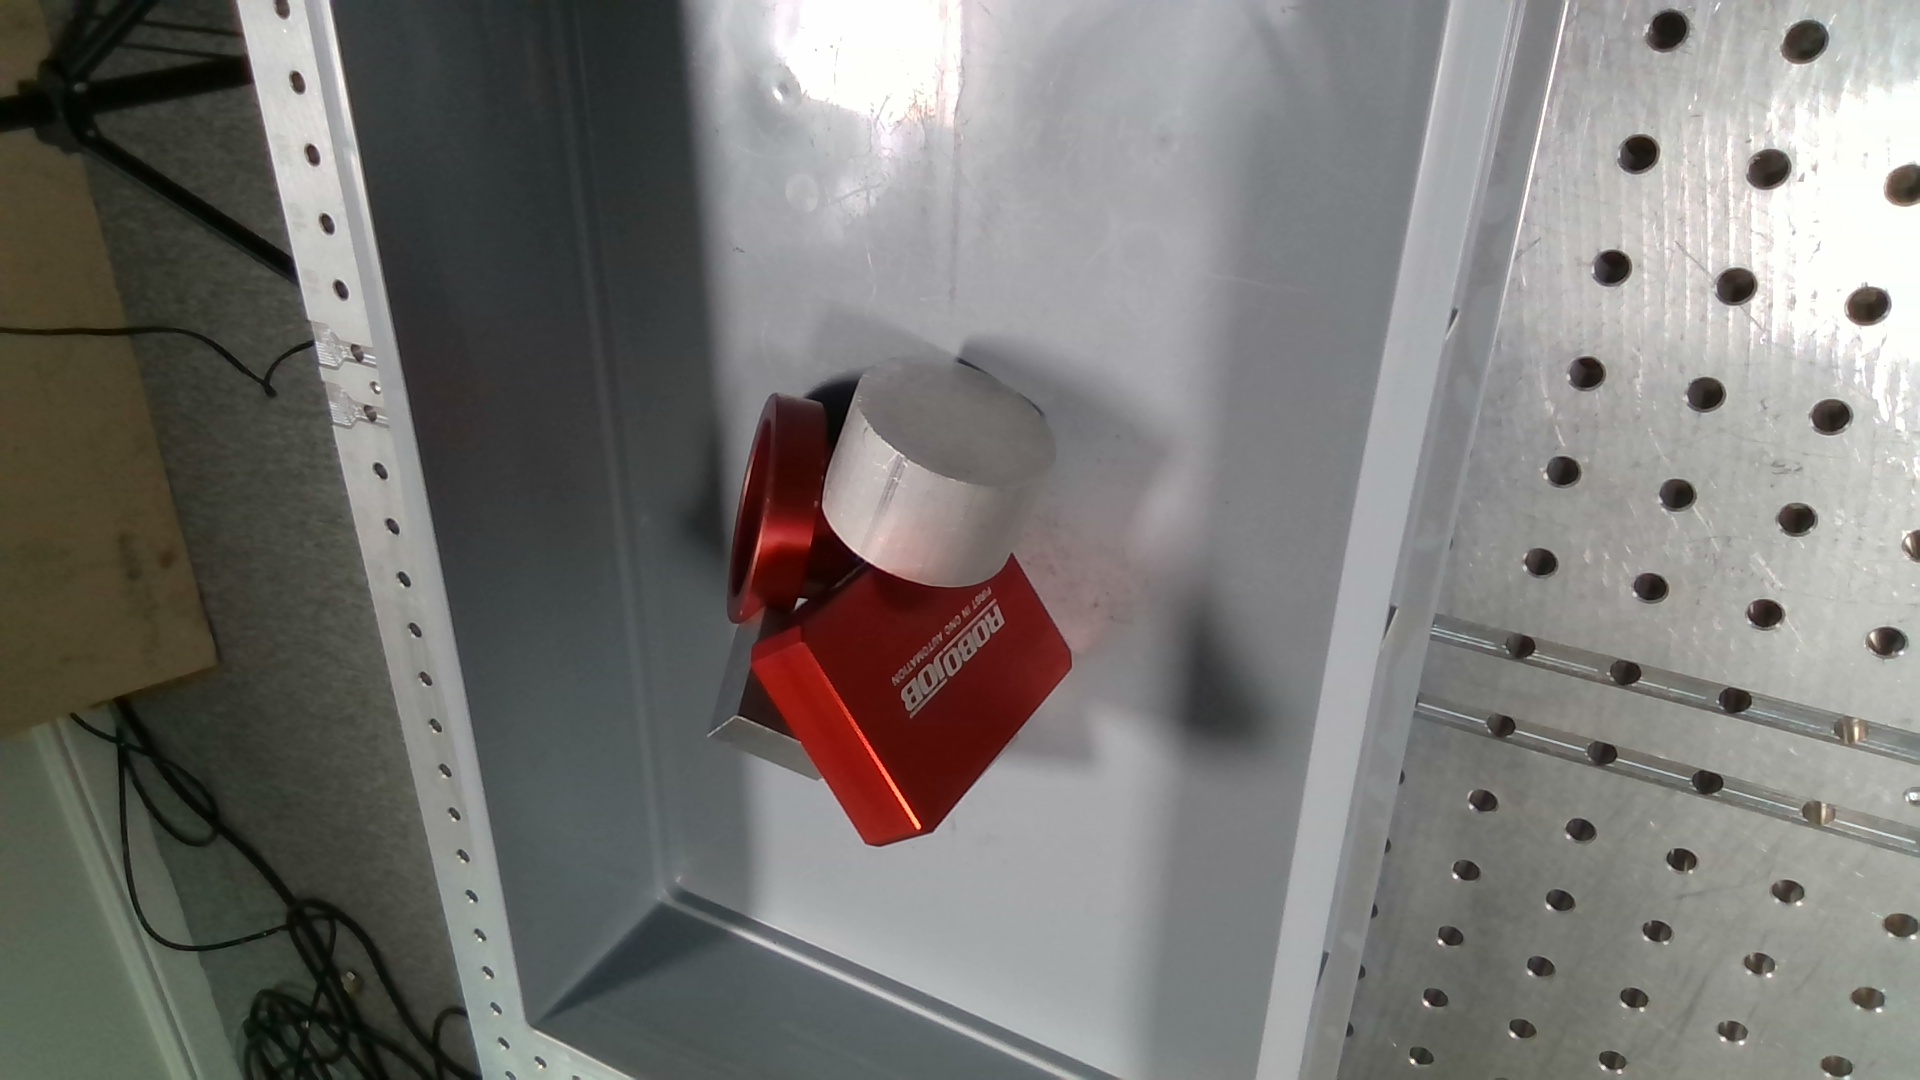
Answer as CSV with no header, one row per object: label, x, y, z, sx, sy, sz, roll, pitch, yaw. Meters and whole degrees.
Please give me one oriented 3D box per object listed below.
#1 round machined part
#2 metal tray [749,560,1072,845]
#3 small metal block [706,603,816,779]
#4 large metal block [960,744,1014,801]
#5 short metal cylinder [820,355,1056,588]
round machined part,-0.068,-0.010,0.580,0.042,0.098,0.098,10,128,-15
metal tray,-0.014,0.047,0.545,0.030,0.130,0.090,-24,101,39
small metal block,-0.068,0.061,0.549,0.050,0.050,0.025,27,142,-24
large metal block,-0.030,0.064,0.606,0.080,0.050,0.080,2,116,36
short metal cylinder,-0.009,-0.027,0.533,0.080,0.080,0.050,34,128,12
